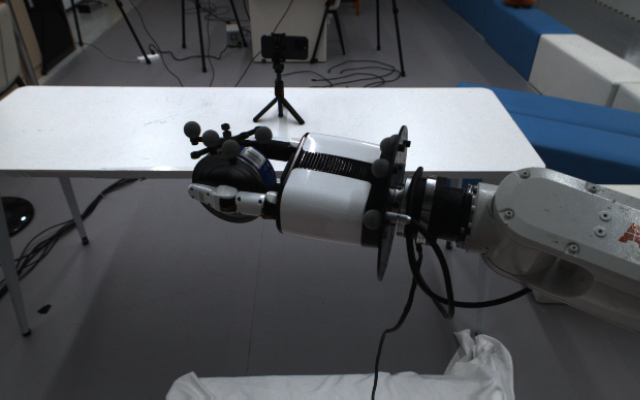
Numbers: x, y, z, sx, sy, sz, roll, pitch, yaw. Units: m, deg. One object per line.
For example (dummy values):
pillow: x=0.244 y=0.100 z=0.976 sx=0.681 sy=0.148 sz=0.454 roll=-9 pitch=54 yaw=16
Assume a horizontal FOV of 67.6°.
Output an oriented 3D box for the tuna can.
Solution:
tuna can: x=-0.090 y=-0.020 z=0.524 sx=0.085 sy=0.085 sz=0.034 roll=11 pitch=34 yaw=12
